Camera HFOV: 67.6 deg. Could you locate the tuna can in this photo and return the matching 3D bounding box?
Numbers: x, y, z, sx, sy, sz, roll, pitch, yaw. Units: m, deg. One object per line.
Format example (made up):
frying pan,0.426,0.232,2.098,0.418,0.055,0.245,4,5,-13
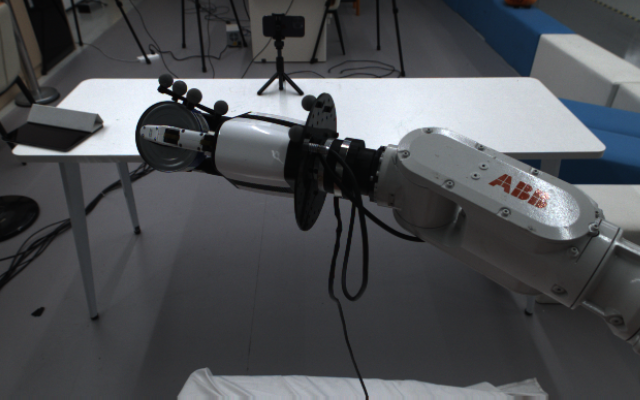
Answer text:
tuna can,-0.179,-0.076,0.595,0.085,0.085,0.034,10,4,11
